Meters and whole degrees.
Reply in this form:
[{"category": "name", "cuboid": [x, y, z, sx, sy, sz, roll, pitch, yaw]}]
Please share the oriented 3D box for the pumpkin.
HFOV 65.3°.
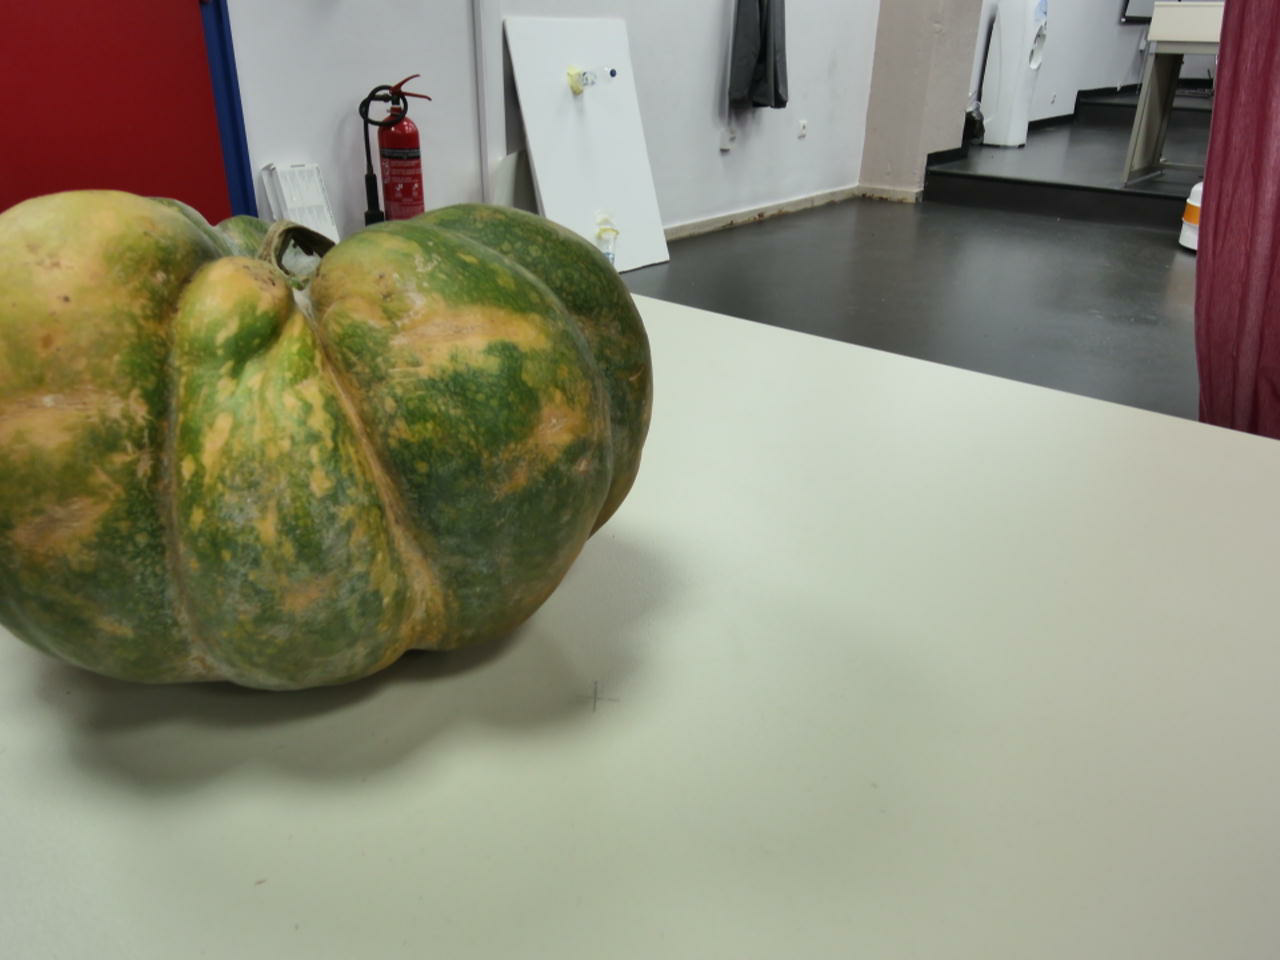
[{"category": "pumpkin", "cuboid": [-0.132, -0.027, 0.375, 0.270, 0.173, 0.237, -6, 24, -13]}]
